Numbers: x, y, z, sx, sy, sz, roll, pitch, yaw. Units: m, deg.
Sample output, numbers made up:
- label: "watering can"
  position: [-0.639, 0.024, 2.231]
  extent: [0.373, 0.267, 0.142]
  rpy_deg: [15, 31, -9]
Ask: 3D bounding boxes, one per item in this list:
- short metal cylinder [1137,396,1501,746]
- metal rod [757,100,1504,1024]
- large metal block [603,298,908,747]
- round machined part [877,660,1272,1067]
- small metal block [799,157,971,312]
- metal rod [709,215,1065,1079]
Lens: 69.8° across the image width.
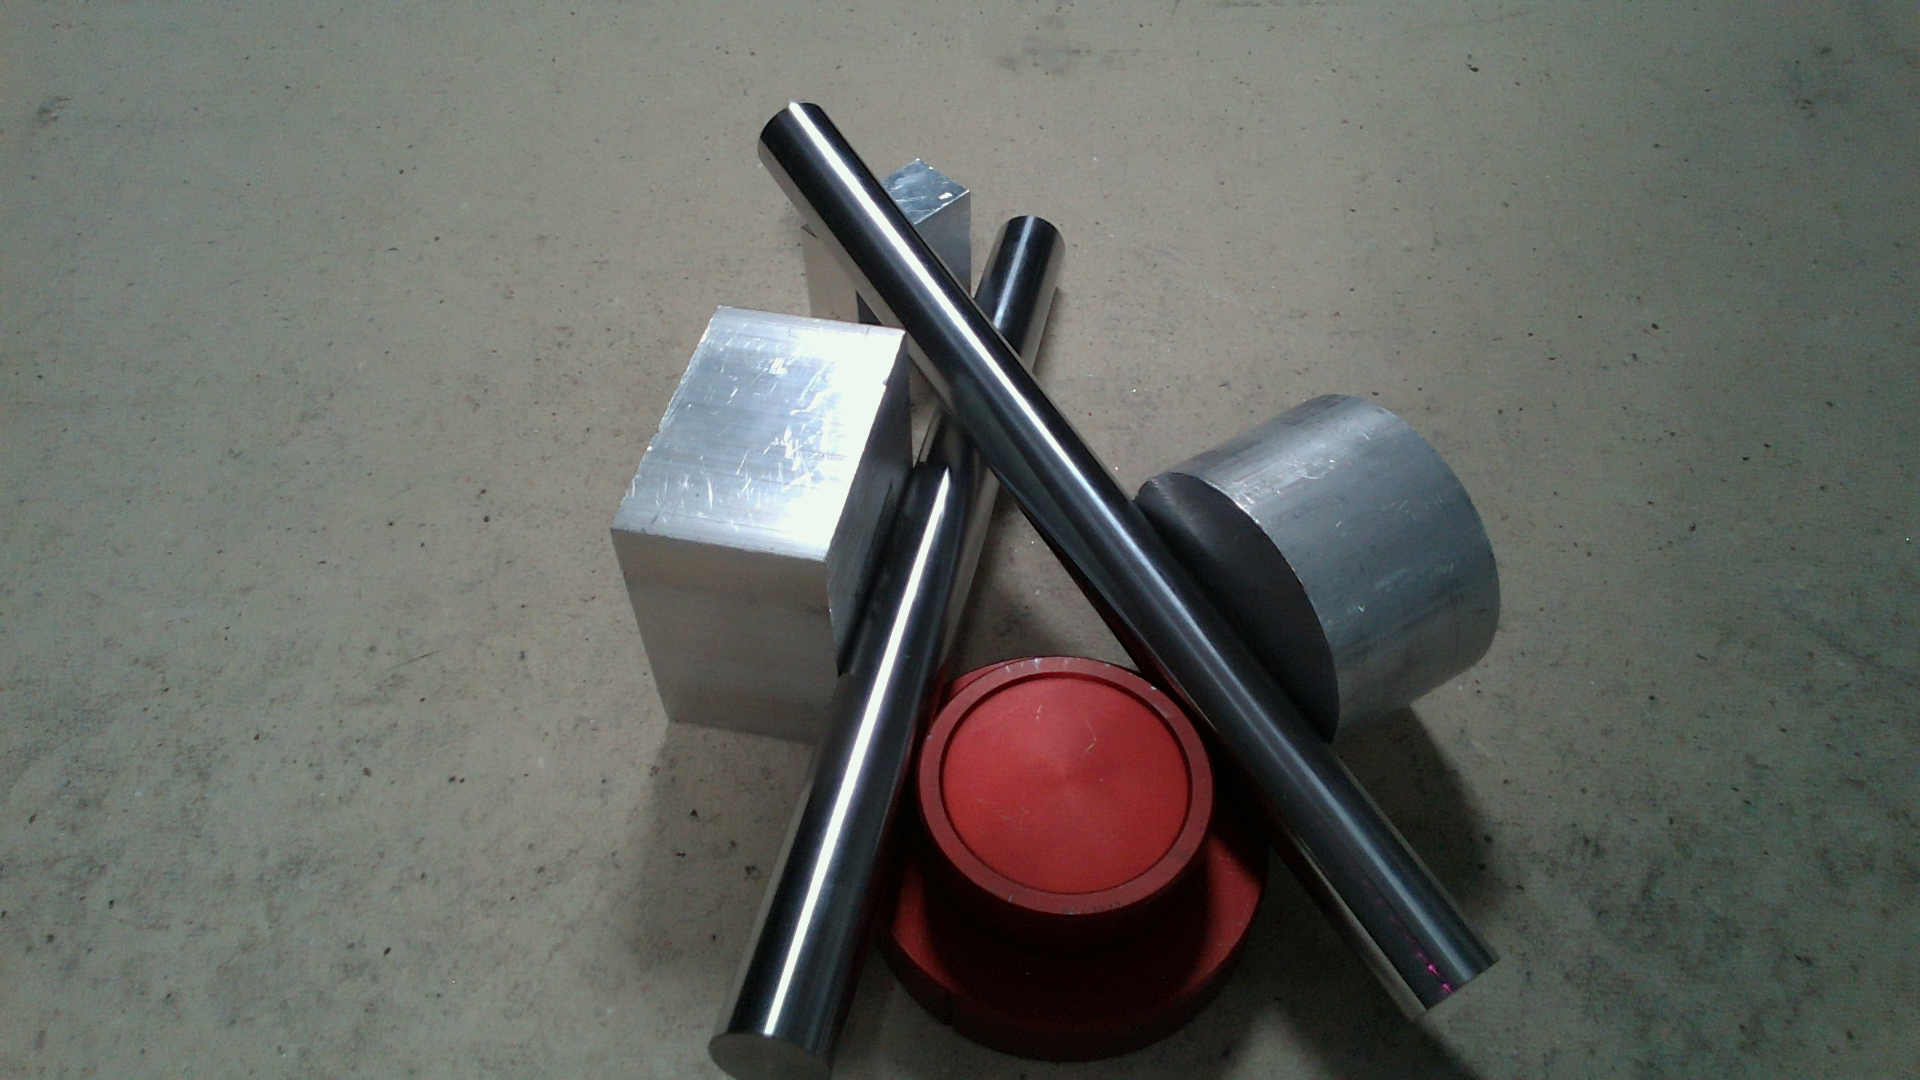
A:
- label: "short metal cylinder"
  position: [0.087, 0.010, 0.348]
  extent: [0.050, 0.080, 0.080]
  rpy_deg: [-26, 54, -20]
- label: "metal rod"
  position: [0.028, -0.014, 0.359]
  extent: [0.025, 0.025, 0.299]
  rpy_deg: [-26, 63, -20]
- label: "large metal block"
  position: [-0.046, -0.003, 0.359]
  extent: [0.050, 0.080, 0.080]
  rpy_deg: [9, 50, 8]
- label: "round machined part"
  position: [0.024, 0.068, 0.324]
  extent: [0.098, 0.042, 0.098]
  rpy_deg: [0, 50, 0]
- label: "small metal block"
  position: [-0.023, -0.088, 0.449]
  extent: [0.025, 0.050, 0.050]
  rpy_deg: [37, 59, 27]
- label: "metal rod"
  position: [-0.006, -0.001, 0.372]
  extent: [0.025, 0.025, 0.300]
  rpy_deg: [9, 44, 8]
